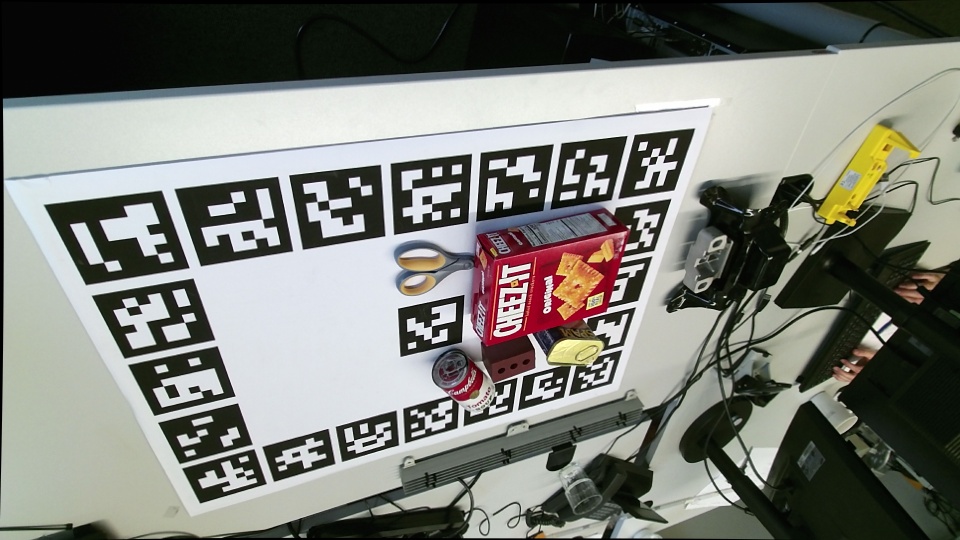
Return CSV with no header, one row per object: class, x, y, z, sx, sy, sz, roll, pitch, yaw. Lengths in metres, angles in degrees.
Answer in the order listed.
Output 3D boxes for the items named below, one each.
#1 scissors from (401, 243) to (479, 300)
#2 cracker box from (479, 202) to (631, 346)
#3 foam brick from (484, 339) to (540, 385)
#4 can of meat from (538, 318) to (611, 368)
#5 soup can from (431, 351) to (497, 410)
scissors,-0.008,-0.015,0.750,0.203,0.016,0.088,-15,128,-16
cracker box,0.110,0.010,0.785,0.214,0.072,0.164,-18,130,-19
foam brick,0.053,0.145,0.889,0.078,0.051,0.053,-20,129,-13
can of meat,0.150,0.111,0.888,0.102,0.083,0.058,1,122,-27
soup can,-0.024,0.183,0.877,0.068,0.067,0.102,-40,136,5
